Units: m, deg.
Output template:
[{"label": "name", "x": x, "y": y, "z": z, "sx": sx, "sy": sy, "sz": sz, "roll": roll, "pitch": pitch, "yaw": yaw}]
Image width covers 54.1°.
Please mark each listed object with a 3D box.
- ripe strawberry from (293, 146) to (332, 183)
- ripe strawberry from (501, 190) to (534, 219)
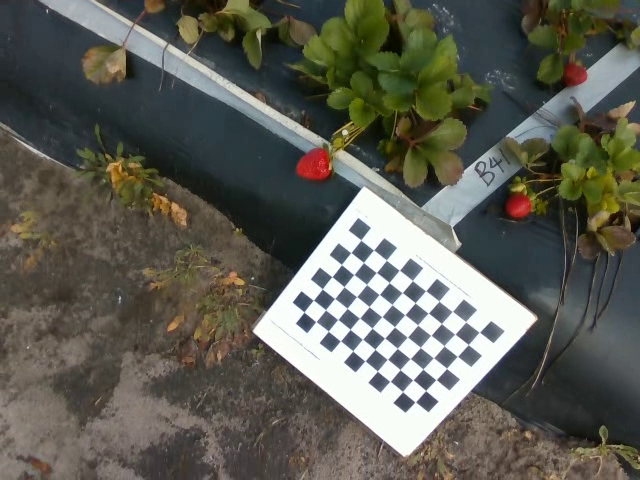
[{"label": "ripe strawberry", "x": -0.008, "y": -0.098, "z": 0.784, "sx": 0.052, "sy": 0.048, "sz": 0.030, "roll": -15, "pitch": 5, "yaw": -11}, {"label": "ripe strawberry", "x": 0.252, "y": -0.041, "z": 0.780, "sx": 0.047, "sy": 0.038, "sz": 0.030, "roll": -36, "pitch": -3, "yaw": -39}]
